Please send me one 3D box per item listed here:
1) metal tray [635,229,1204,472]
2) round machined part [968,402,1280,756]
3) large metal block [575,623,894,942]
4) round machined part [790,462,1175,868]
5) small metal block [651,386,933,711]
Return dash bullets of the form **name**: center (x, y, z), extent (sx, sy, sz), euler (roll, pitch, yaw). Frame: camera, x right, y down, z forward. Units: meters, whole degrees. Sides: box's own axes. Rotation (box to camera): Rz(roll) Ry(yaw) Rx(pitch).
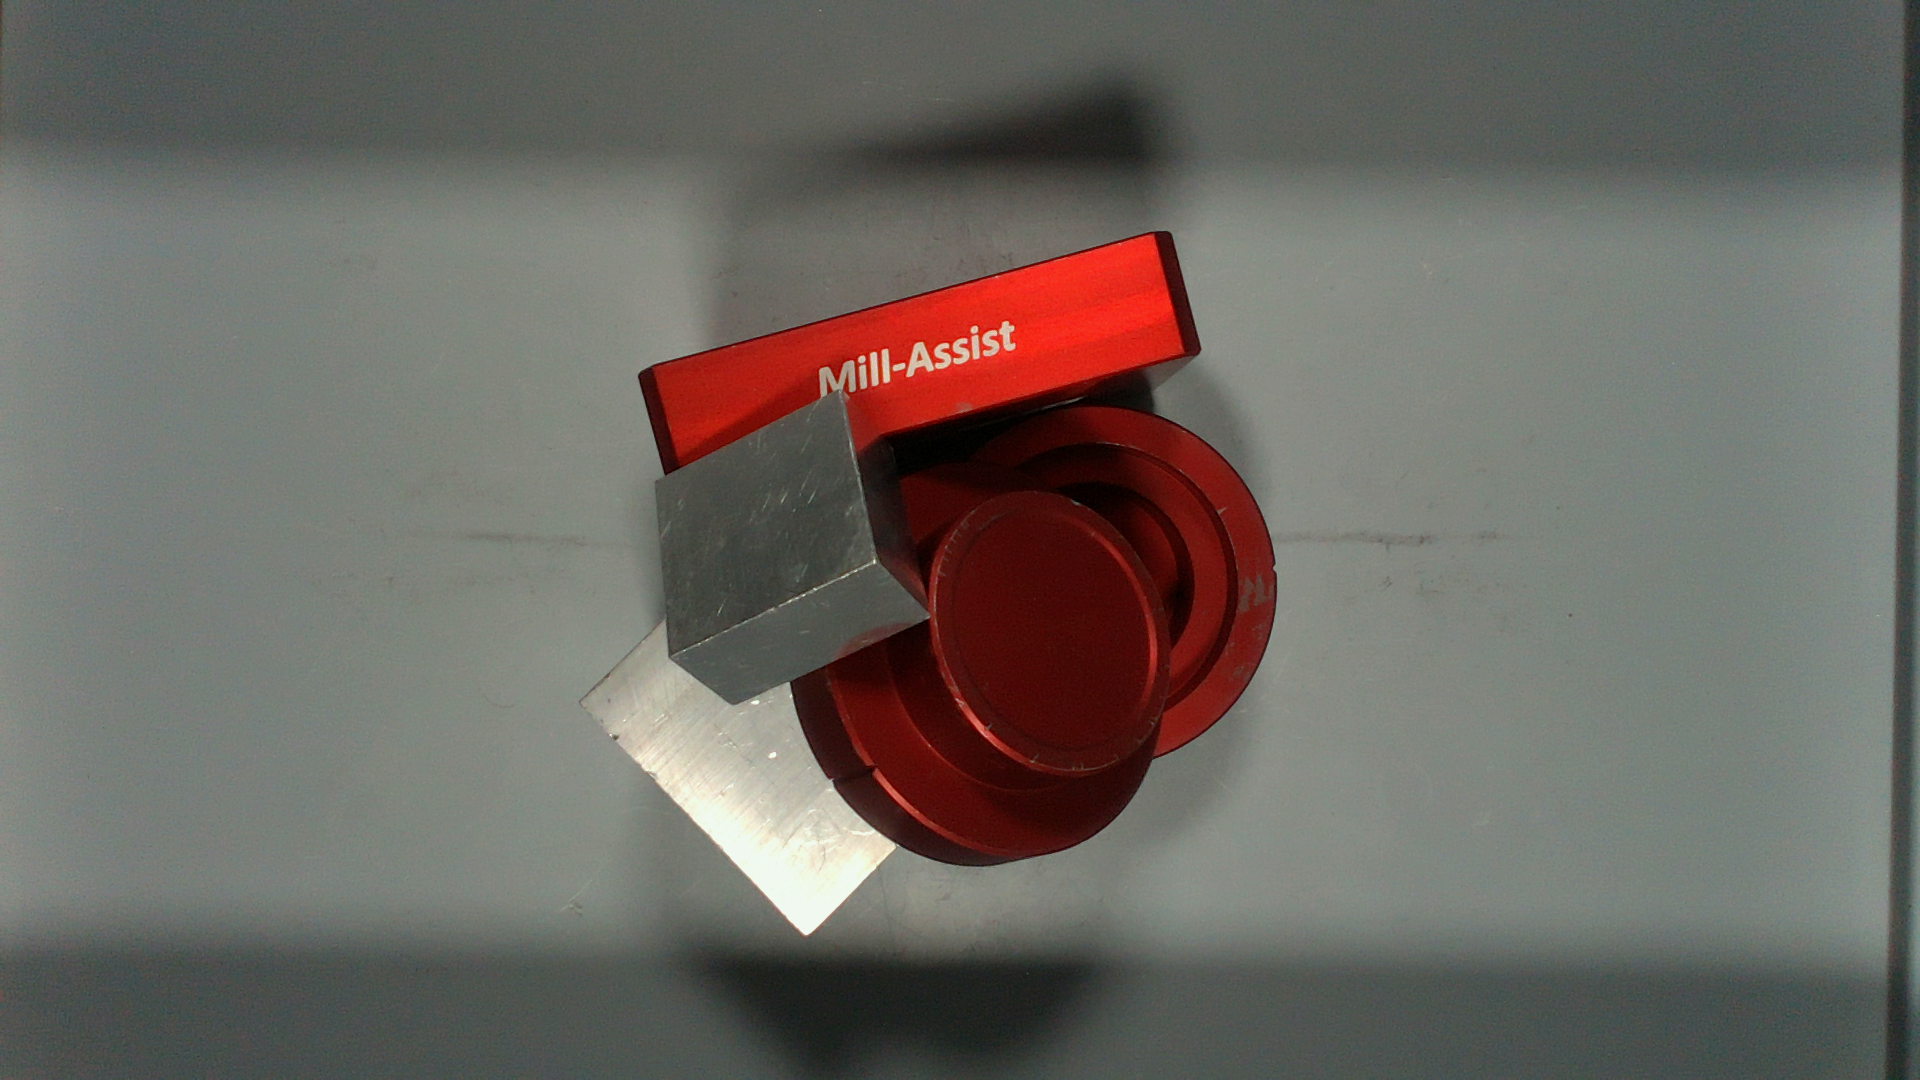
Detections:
- **metal tray**: center (-0.009, -0.042, 0.361), extent (0.130, 0.090, 0.030), euler (-15, 91, 0)
- **round machined part**: center (0.037, 0.012, 0.387), extent (0.098, 0.042, 0.098), euler (0, 90, 0)
- **large metal block**: center (-0.045, 0.049, 0.367), extent (0.050, 0.080, 0.080), euler (-44, 90, 0)
- **round machined part**: center (0.012, 0.027, 0.328), extent (0.098, 0.042, 0.098), euler (13, 65, -30)
- **small metal block**: center (-0.038, 0.002, 0.302), extent (0.050, 0.025, 0.050), euler (-25, 51, 13)
